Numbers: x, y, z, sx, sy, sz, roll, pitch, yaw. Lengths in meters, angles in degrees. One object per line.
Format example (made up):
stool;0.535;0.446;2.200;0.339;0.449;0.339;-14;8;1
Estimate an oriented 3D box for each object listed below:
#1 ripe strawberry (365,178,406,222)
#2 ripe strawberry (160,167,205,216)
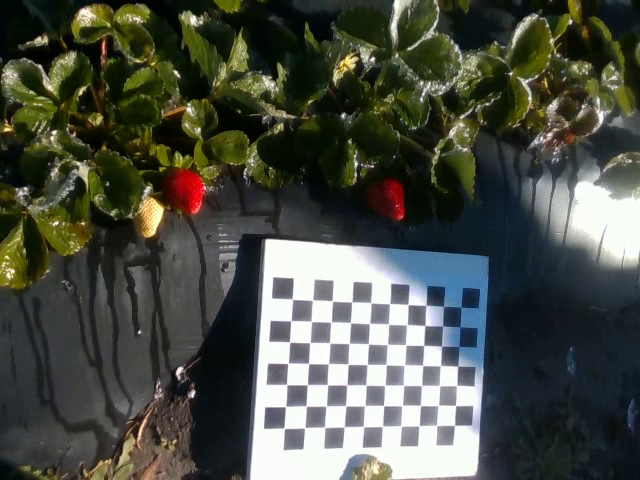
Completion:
ripe strawberry;0.082;-0.047;0.664;0.048;0.061;0.044;-4;-31;-19
ripe strawberry;-0.136;-0.044;0.596;0.042;0.061;0.046;-12;-38;-19
